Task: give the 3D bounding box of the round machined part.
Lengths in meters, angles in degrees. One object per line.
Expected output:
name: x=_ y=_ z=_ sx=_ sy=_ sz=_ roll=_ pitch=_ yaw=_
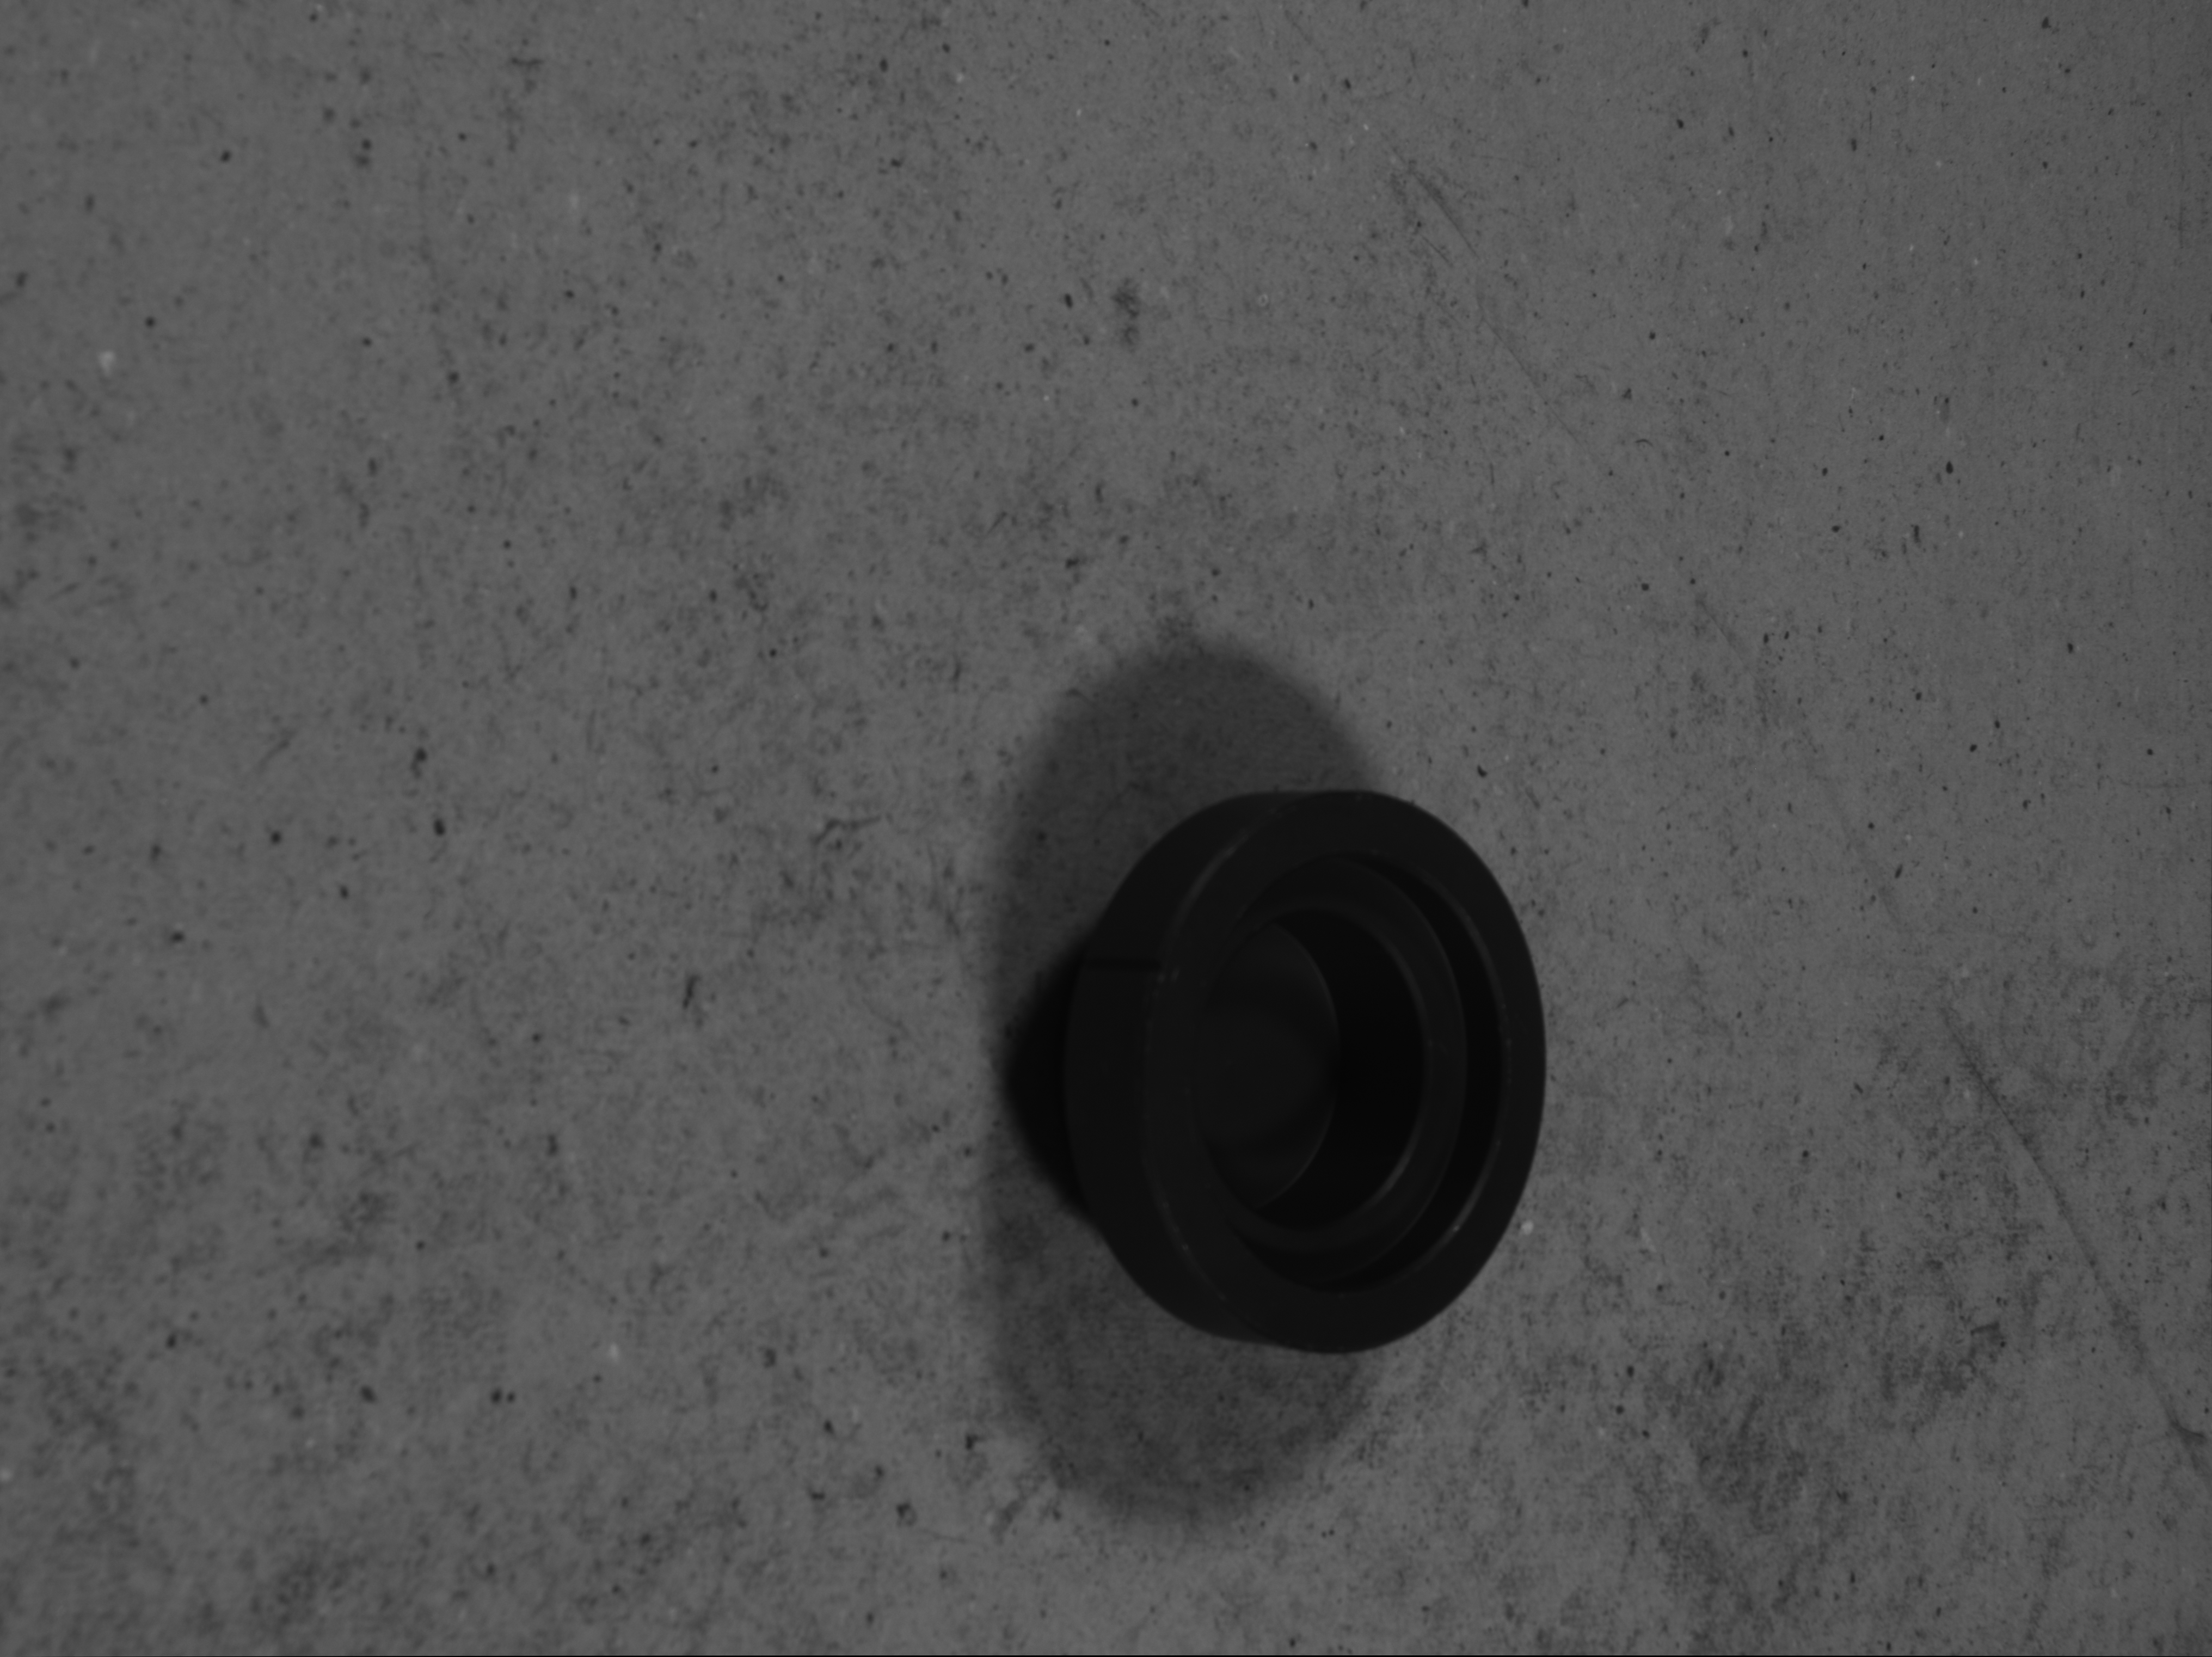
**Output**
round machined part: x=0.032 y=0.042 z=0.653 sx=0.098 sy=0.042 sz=0.098 roll=0 pitch=90 yaw=-40
